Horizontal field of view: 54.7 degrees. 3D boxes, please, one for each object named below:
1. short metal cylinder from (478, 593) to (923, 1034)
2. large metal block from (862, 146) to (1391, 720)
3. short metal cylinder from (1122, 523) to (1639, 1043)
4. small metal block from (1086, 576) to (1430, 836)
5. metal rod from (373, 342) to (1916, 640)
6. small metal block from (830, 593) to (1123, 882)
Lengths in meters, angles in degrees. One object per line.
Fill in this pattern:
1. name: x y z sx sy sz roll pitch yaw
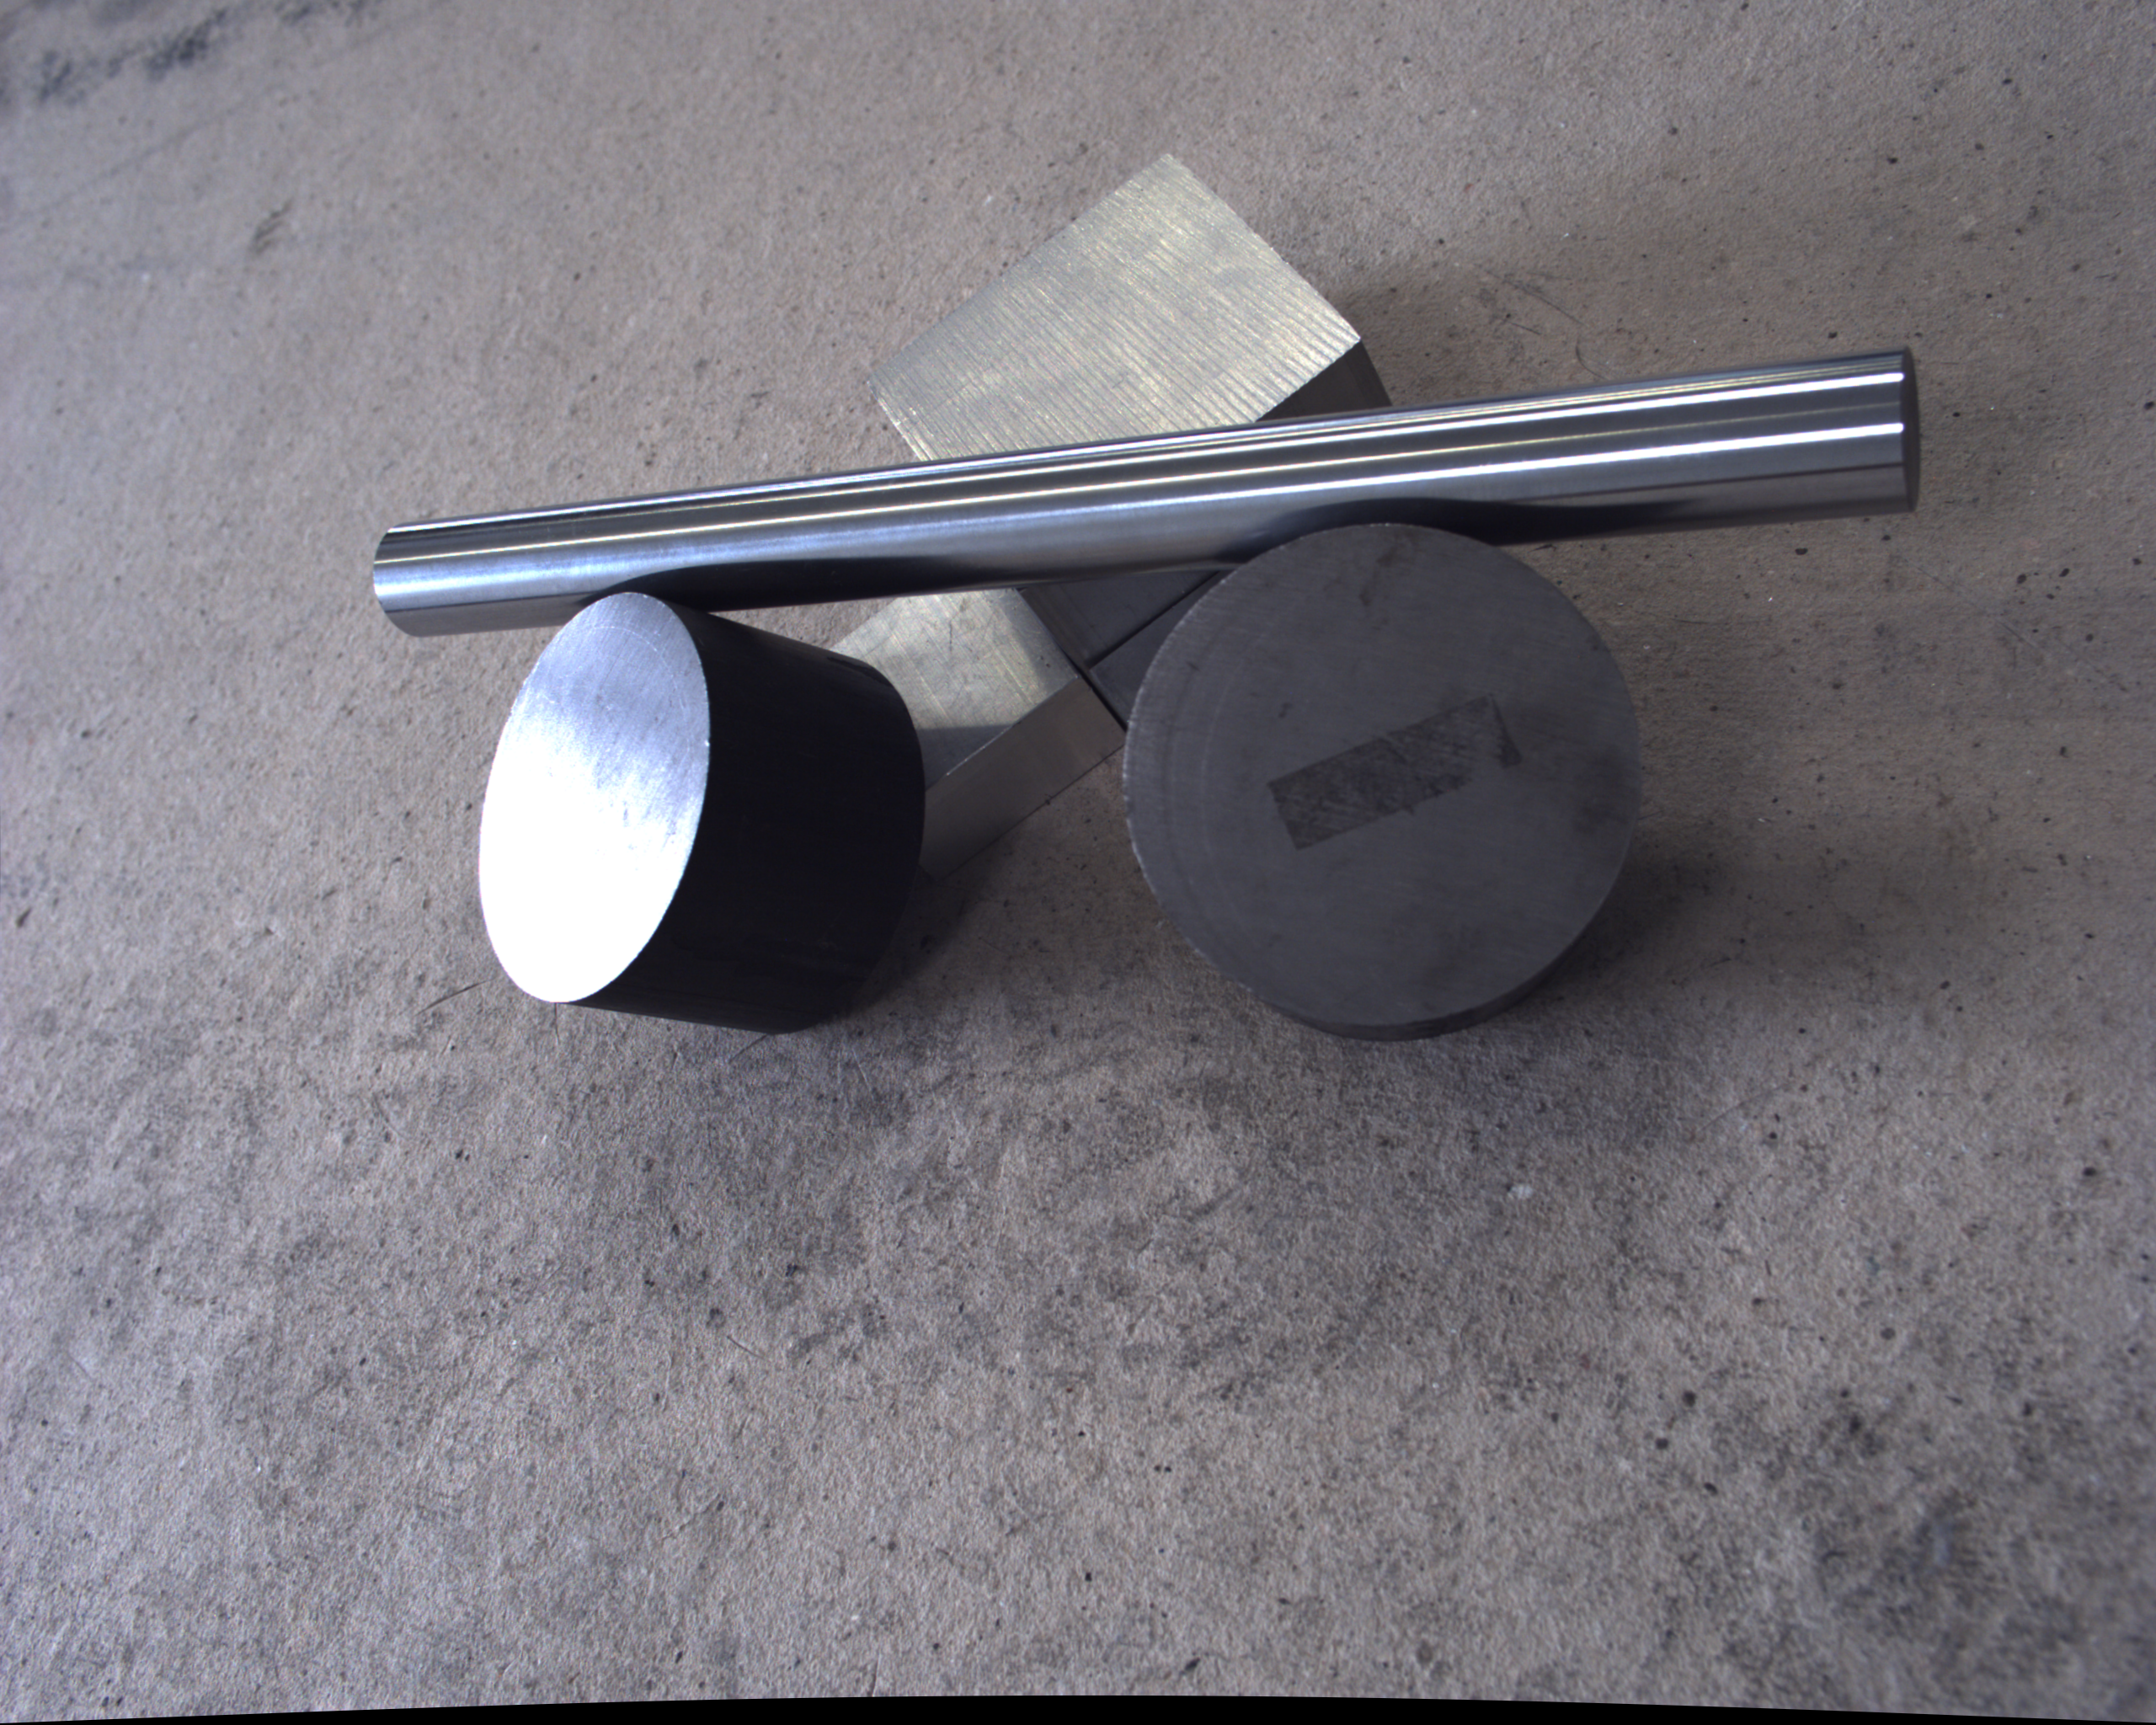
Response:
1. short metal cylinder: -0.076 -0.008 0.416 0.080 0.050 0.080 -14 69 44
2. large metal block: 0.014 -0.089 0.434 0.080 0.050 0.080 -36 51 4
3. short metal cylinder: 0.051 -0.011 0.351 0.080 0.050 0.080 -2 81 10
4. small metal block: 0.038 -0.031 0.404 0.050 0.025 0.050 -37 51 3
5. metal rod: -0.009 -0.063 0.382 0.300 0.025 0.025 -1 61 27
6. small metal block: -0.025 -0.033 0.439 0.050 0.025 0.050 -36 51 2
